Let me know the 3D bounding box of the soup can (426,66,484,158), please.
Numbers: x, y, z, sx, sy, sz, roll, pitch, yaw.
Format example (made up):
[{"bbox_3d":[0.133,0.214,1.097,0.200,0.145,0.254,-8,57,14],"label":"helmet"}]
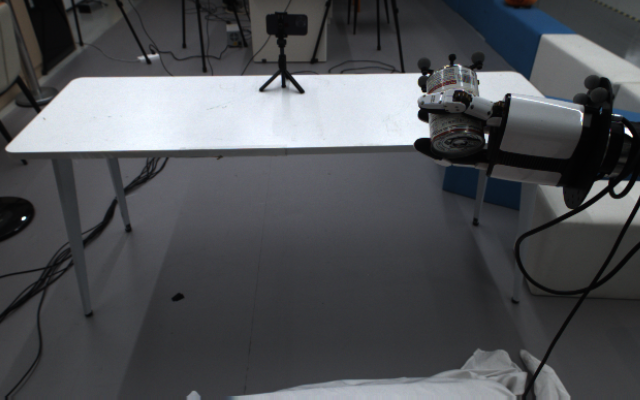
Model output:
[{"bbox_3d":[0.175,-0.115,0.627,0.067,0.067,0.101,2,68,0],"label":"soup can"}]
